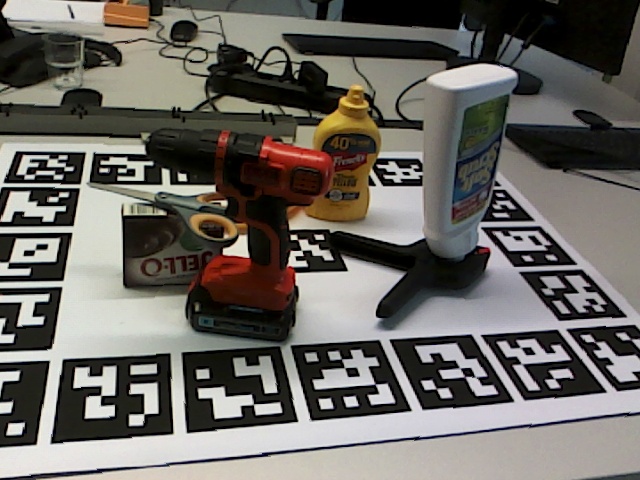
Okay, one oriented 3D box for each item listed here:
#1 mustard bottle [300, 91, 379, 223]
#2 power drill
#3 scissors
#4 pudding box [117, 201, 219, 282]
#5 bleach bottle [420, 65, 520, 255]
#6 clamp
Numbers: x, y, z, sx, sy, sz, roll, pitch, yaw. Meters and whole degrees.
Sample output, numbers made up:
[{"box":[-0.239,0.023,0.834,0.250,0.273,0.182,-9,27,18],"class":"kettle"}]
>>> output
[{"box":[0.031,-0.115,0.870,0.096,0.191,0.058,8,32,-4],"class":"mustard bottle"},{"box":[-0.091,-0.016,0.628,0.184,0.186,0.057,4,26,-2],"class":"power drill"},{"box":[-0.178,-0.055,0.692,0.203,0.016,0.088,17,37,4],"class":"scissors"},{"box":[-0.177,0.002,0.723,0.113,0.090,0.039,2,26,-12],"class":"pudding box"},{"box":[0.174,-0.078,0.760,0.102,0.250,0.068,-19,37,-25],"class":"bleach bottle"},{"box":[0.130,0.018,0.794,0.202,0.036,0.166,-4,37,-21],"class":"clamp"}]
